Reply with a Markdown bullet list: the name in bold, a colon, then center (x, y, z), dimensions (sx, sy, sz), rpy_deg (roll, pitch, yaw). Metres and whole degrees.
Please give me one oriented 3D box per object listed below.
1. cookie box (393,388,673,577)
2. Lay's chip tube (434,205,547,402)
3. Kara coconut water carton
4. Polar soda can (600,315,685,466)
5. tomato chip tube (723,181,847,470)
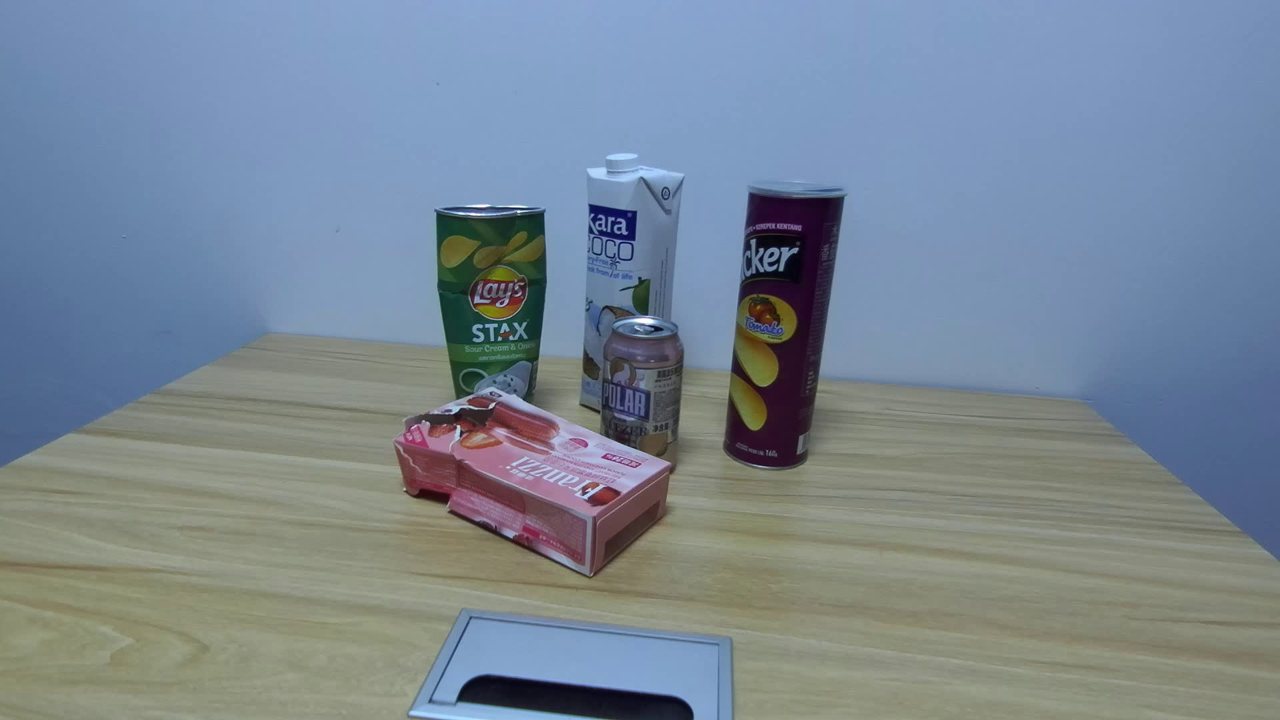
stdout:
- **cookie box**: center (-0.080, 0.082, 0.529), dimensions (0.185, 0.059, 0.105), rpy_deg (16, 27, 29)
- **Lay's chip tube**: center (-0.130, -0.035, 0.635), dimensions (0.068, 0.199, 0.075), rpy_deg (16, 25, 30)
- **Kara coconut water carton**: center (-0.010, -0.068, 0.672), dimensions (0.076, 0.245, 0.076), rpy_deg (20, 25, 41)
- **Polar soda can**: center (0.002, 0.030, 0.585), dimensions (0.067, 0.125, 0.067), rpy_deg (2, 20, 0)
- **tomato chip tube**: center (0.120, -0.027, 0.599), dimensions (0.078, 0.234, 0.078), rpy_deg (2, 20, -1)
